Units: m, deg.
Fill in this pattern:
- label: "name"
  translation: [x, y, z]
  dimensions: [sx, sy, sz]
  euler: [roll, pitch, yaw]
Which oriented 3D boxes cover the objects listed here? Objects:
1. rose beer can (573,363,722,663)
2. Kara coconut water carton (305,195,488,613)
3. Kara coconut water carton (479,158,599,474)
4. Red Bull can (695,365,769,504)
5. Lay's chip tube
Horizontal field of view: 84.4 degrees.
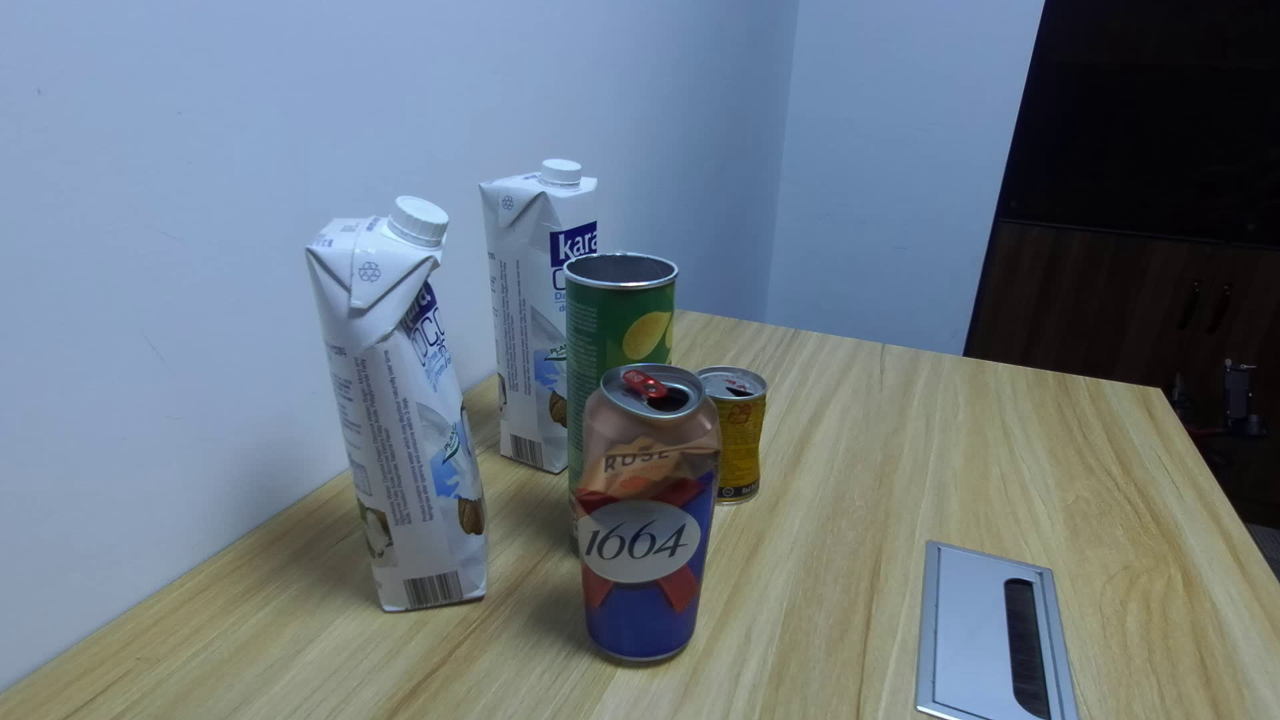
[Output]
- label: "rose beer can"
  translation: [0.003, 0.088, 0.391]
  dimensions: [0.076, 0.167, 0.065]
  euler: [5, 26, 1]
- label: "Kara coconut water carton"
  translation: [-0.137, 0.028, 0.422]
  dimensions: [0.071, 0.244, 0.099]
  euler: [-5, 26, -9]
- label: "Kara coconut water carton"
  translation: [-0.075, -0.034, 0.570]
  dimensions: [0.075, 0.245, 0.077]
  euler: [14, 26, 31]
- label: "Red Bull can"
  translation: [0.066, 0.059, 0.557]
  dimensions: [0.069, 0.092, 0.069]
  euler: [1, 23, 0]
- label: "Lay's chip tube"
  translation: [-0.013, 0.035, 0.463]
  dimensions: [0.071, 0.202, 0.071]
  euler: [1, 23, 0]
